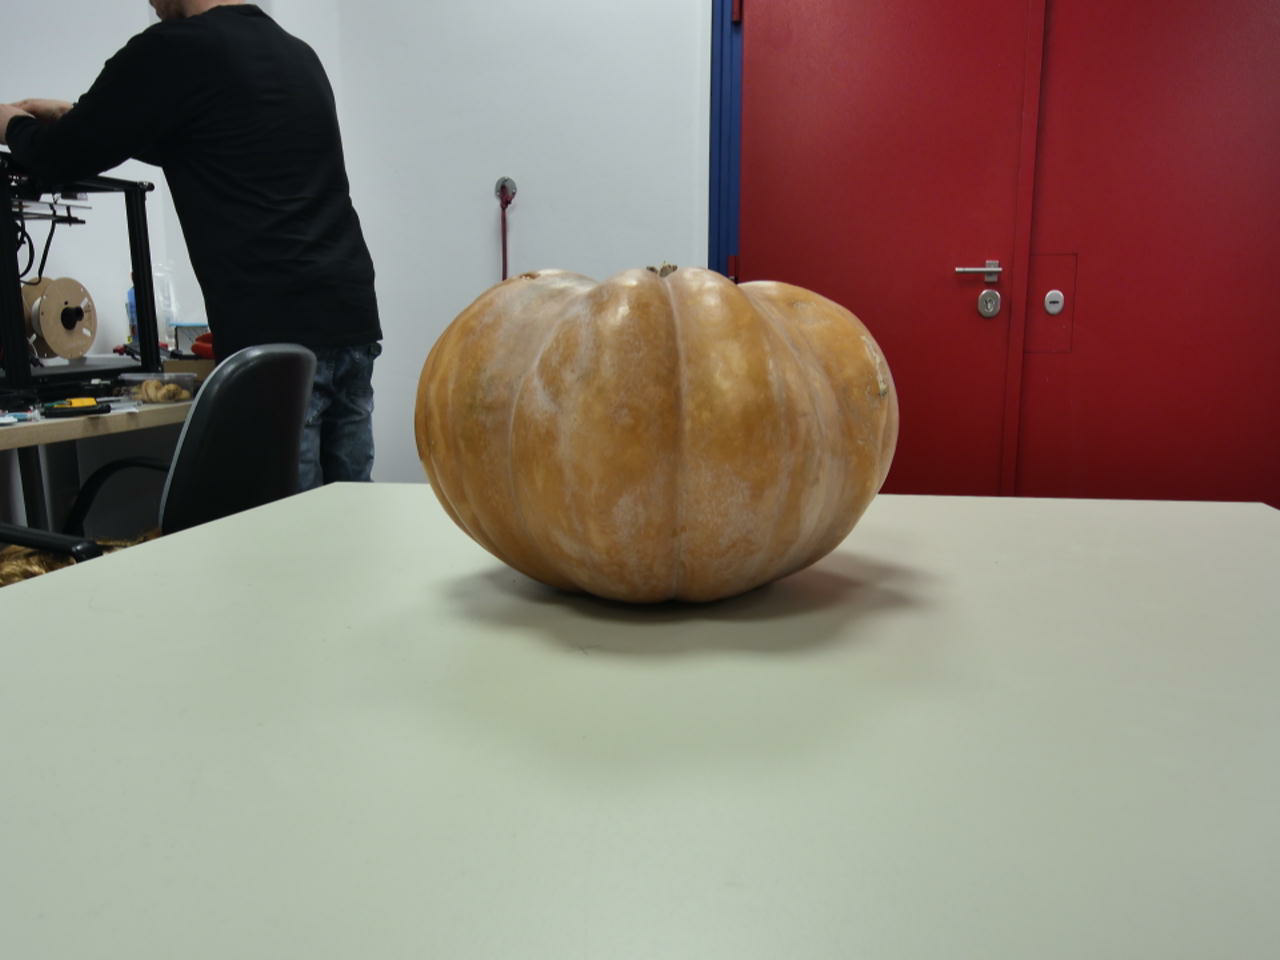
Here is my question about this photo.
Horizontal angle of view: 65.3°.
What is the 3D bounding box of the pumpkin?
[{"bbox_3d":[0.008,-0.030,0.566,0.277,0.181,0.277,0,7,0],"label":"pumpkin"}]
